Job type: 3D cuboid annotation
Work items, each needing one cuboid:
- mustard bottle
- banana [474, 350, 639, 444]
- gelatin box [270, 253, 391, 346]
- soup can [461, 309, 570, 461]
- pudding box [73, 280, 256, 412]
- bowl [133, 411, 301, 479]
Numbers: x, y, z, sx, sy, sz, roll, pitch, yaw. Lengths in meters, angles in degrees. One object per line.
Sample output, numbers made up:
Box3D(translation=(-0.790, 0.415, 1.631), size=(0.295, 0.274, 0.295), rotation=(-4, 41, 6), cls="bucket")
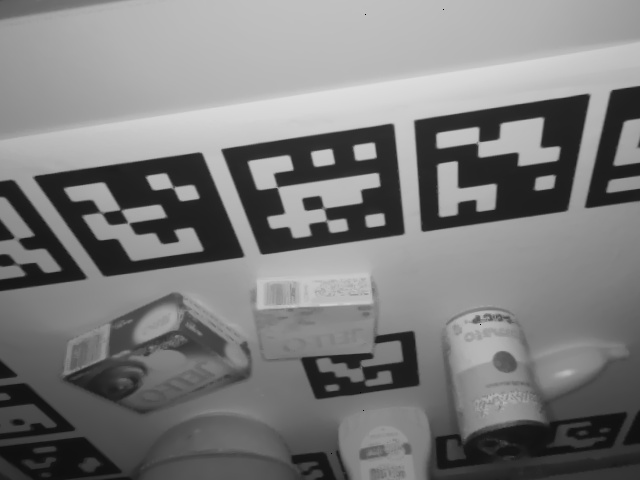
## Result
Box3D(translation=(0.074, 0.265, 0.642), size=(0.096, 0.193, 0.058), rotation=(-7, 140, 3), cls="mustard bottle")
Box3D(translation=(0.209, 0.153, 0.666), size=(0.075, 0.039, 0.194), rotation=(15, 135, -34), cls="banana")
Box3D(translation=(0.008, 0.047, 0.535), size=(0.089, 0.030, 0.072), rotation=(-4, 134, -3), cls="gelatin box")
Box3D(translation=(0.154, 0.115, 0.558), size=(0.068, 0.103, 0.067), rotation=(-2, 139, -1), cls="soup can")
Box3D(translation=(-0.122, 0.088, 0.558), size=(0.112, 0.039, 0.090), rotation=(-25, 128, 20), cls="pudding box")
Box3D(translation=(-0.101, 0.217, 0.693), size=(0.162, 0.055, 0.160), rotation=(-5, 138, -3), cls="bowl")
